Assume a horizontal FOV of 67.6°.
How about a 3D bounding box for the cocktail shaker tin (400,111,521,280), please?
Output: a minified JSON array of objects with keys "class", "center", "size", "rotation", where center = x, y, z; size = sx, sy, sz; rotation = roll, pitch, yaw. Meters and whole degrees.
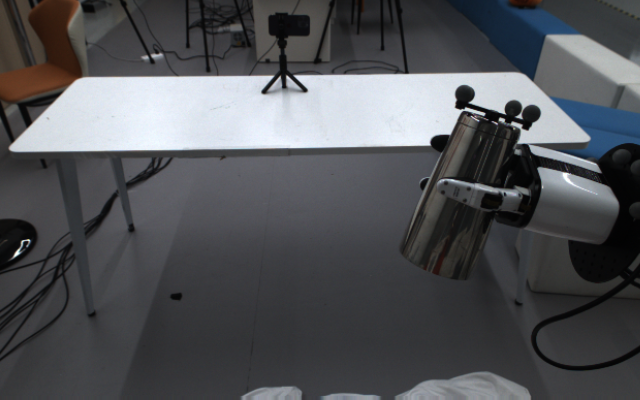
[{"class":"cocktail shaker tin","center":[0.161,-0.008,0.544],"size":[0.093,0.170,0.093],"rotation":[15,17,-5]}]
